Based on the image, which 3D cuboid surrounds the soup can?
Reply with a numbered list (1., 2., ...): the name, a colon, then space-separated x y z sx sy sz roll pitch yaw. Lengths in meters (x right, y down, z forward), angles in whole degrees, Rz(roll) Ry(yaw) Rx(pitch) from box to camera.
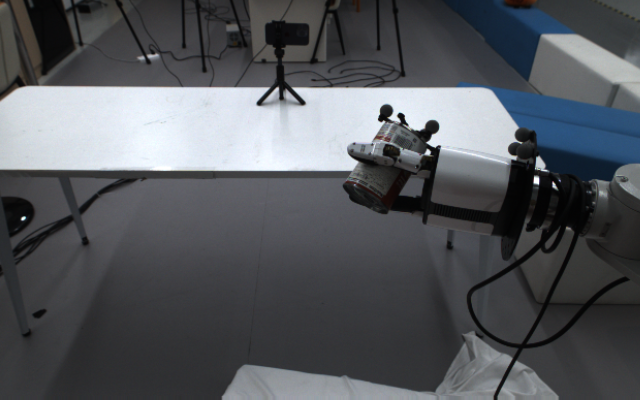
1. soup can: 0.085 -0.043 0.624 0.067 0.067 0.101 27 78 32
